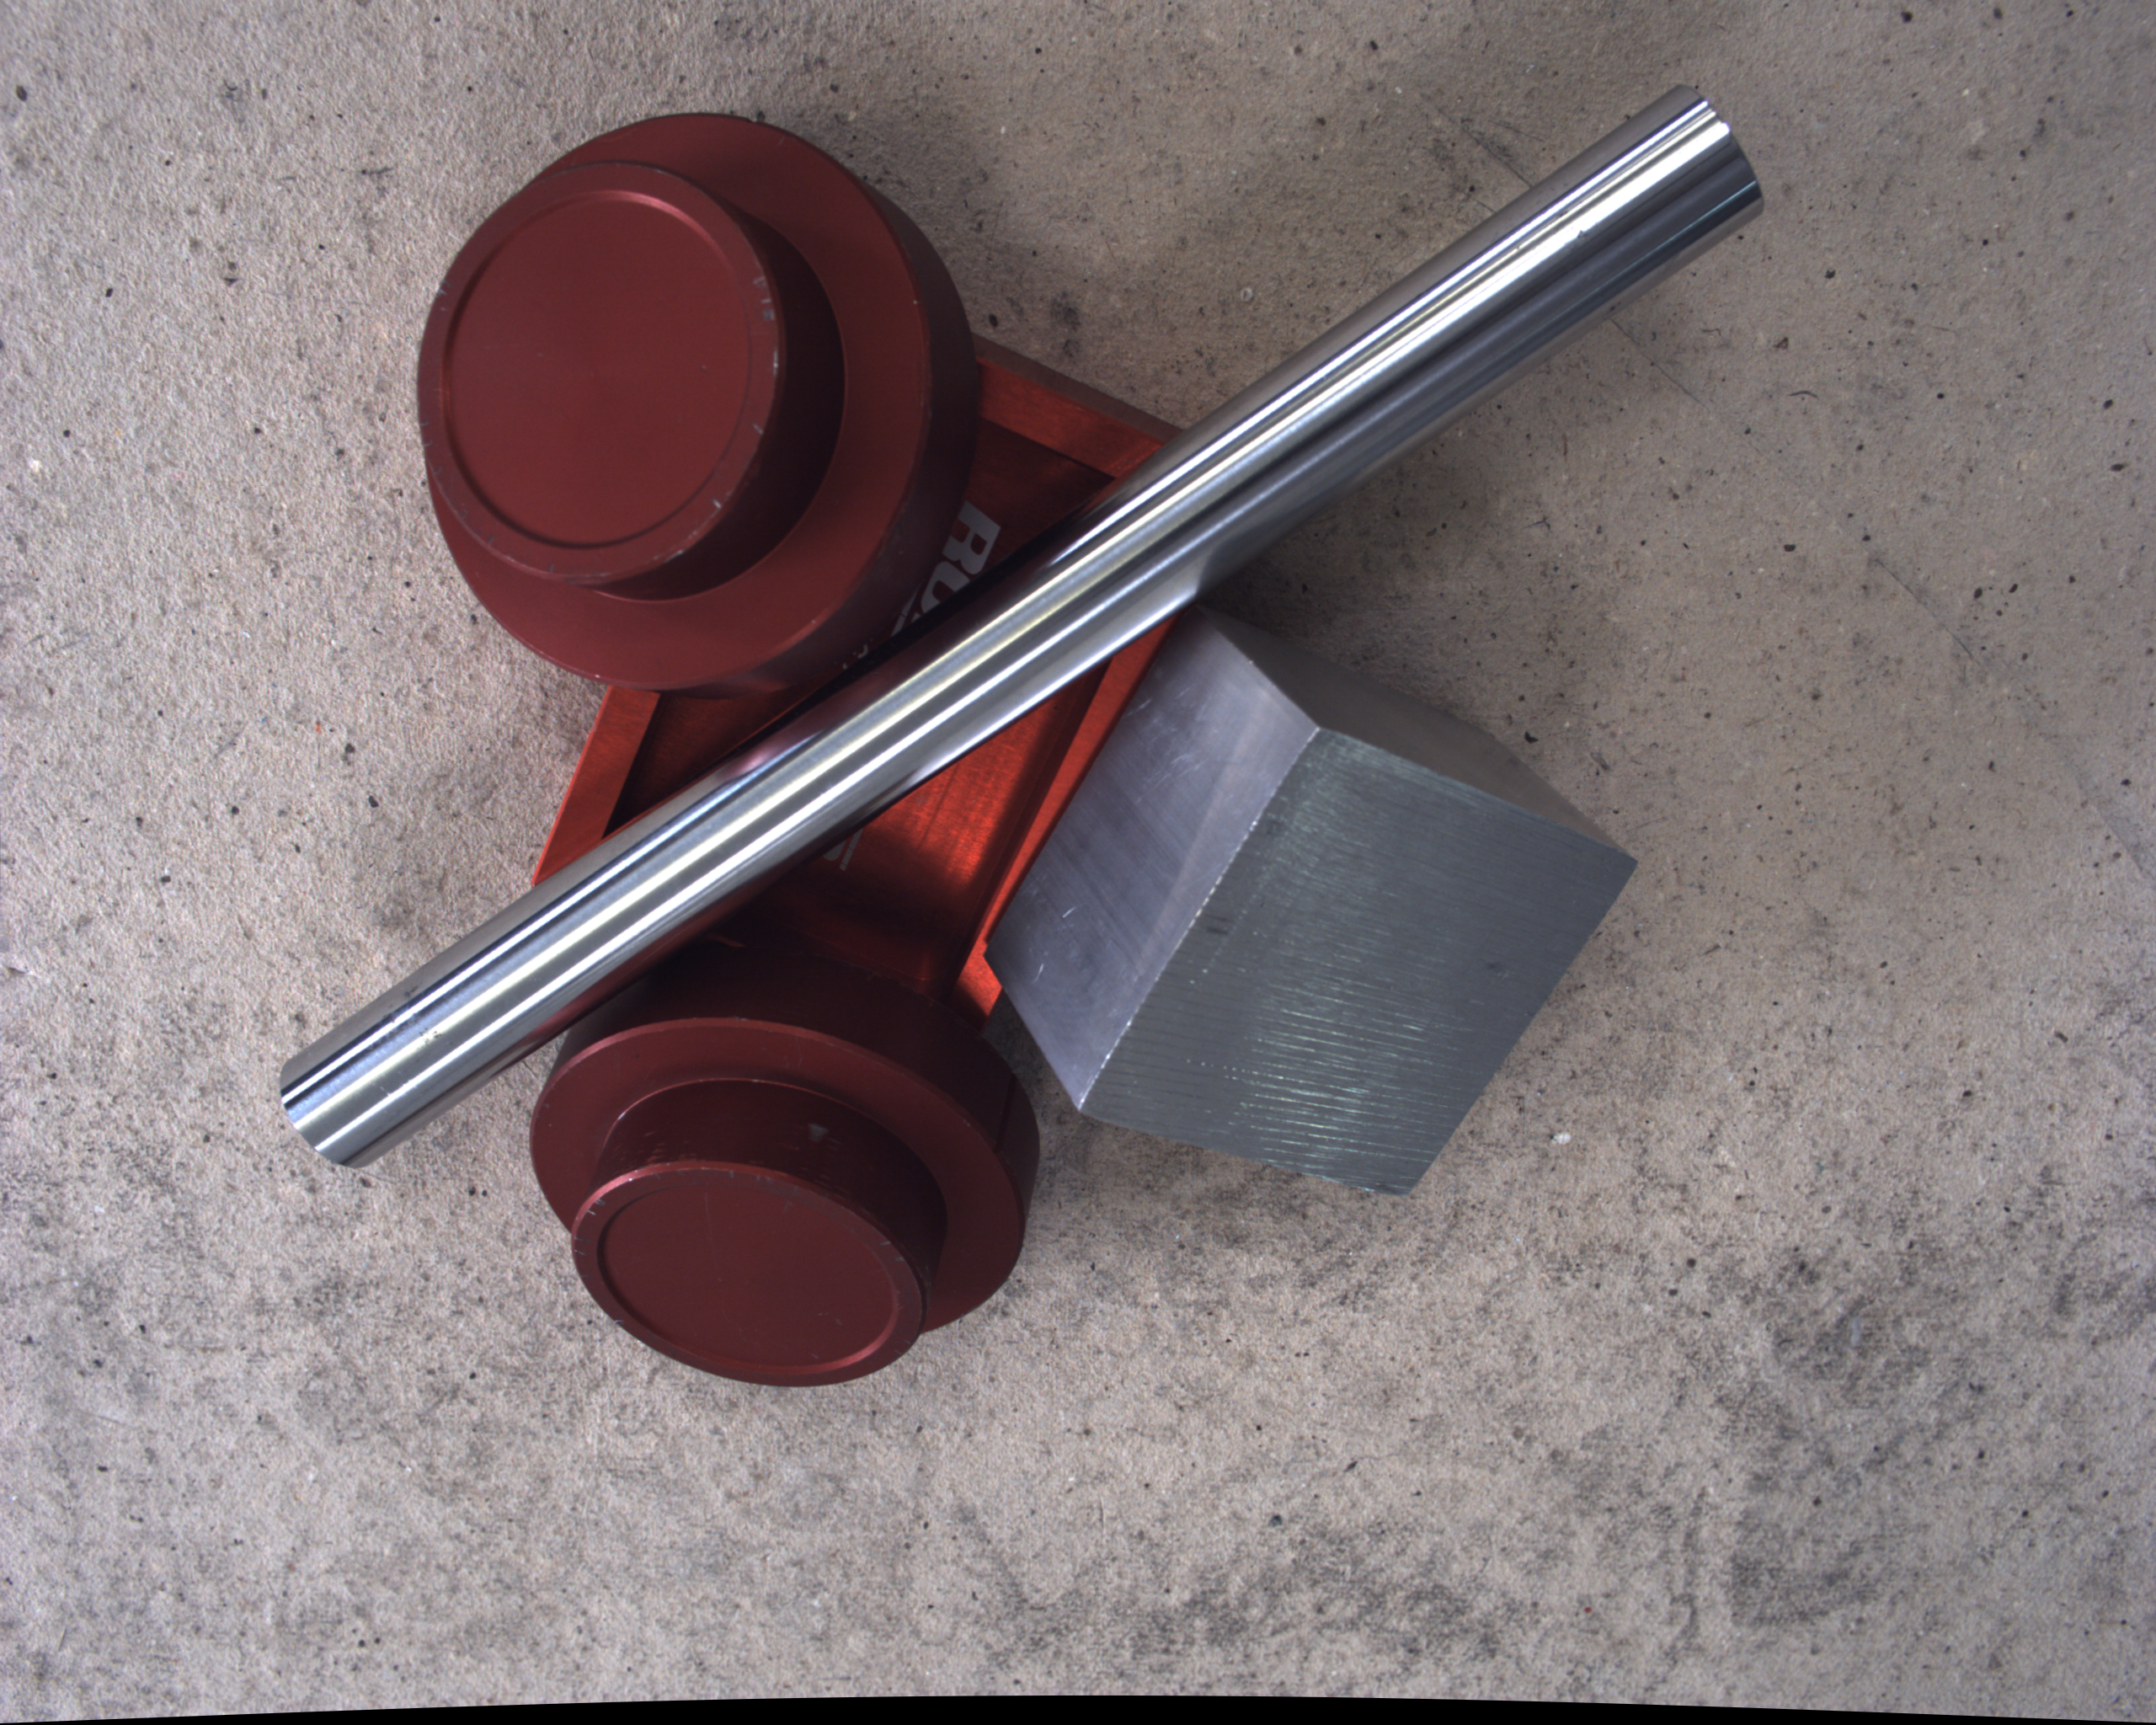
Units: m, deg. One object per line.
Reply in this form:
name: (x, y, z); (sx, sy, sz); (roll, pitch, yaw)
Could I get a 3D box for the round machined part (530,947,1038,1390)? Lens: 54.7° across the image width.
round machined part: (-0.059, 0.066, 0.407); (0.099, 0.042, 0.097); (4, 131, 5)

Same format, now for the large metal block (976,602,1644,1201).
large metal block: (0.041, 0.009, 0.386); (0.080, 0.050, 0.080); (19, 110, -33)

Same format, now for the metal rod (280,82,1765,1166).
metal rod: (-0.019, -0.035, 0.367); (0.300, 0.025, 0.025); (-33, 107, 11)

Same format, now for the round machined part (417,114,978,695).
round machined part: (-0.070, -0.078, 0.351); (0.098, 0.042, 0.097); (0, 89, 20)

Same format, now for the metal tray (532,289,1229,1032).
metal tray: (-0.037, -0.034, 0.395); (0.090, 0.030, 0.129); (23, 108, -9)
